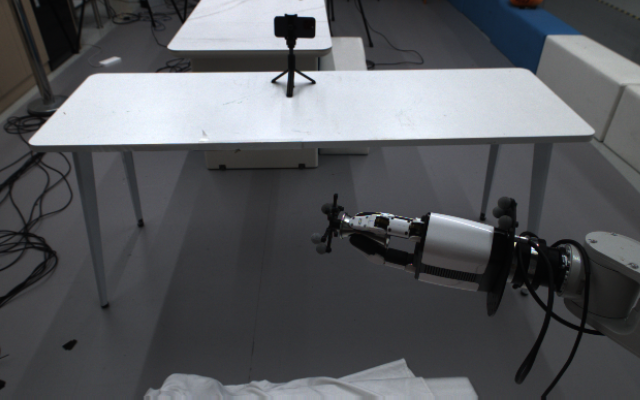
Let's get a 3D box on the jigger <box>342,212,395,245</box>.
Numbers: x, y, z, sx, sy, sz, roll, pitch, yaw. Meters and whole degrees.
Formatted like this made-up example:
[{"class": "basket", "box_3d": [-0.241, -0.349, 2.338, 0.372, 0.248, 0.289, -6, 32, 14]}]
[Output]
[{"class": "jigger", "box_3d": [0.072, 0.039, 0.694, 0.071, 0.043, 0.043, 10, 35, 16]}]
